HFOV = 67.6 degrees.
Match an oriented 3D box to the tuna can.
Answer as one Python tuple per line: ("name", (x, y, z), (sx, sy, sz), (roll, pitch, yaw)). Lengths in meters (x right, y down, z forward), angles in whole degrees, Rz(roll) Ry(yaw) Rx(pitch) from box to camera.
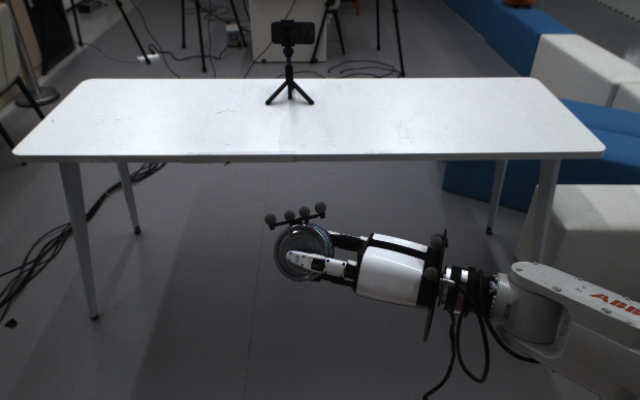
("tuna can", (-0.020, 0.083, 0.709), (0.085, 0.085, 0.034), (12, 3, 14))
